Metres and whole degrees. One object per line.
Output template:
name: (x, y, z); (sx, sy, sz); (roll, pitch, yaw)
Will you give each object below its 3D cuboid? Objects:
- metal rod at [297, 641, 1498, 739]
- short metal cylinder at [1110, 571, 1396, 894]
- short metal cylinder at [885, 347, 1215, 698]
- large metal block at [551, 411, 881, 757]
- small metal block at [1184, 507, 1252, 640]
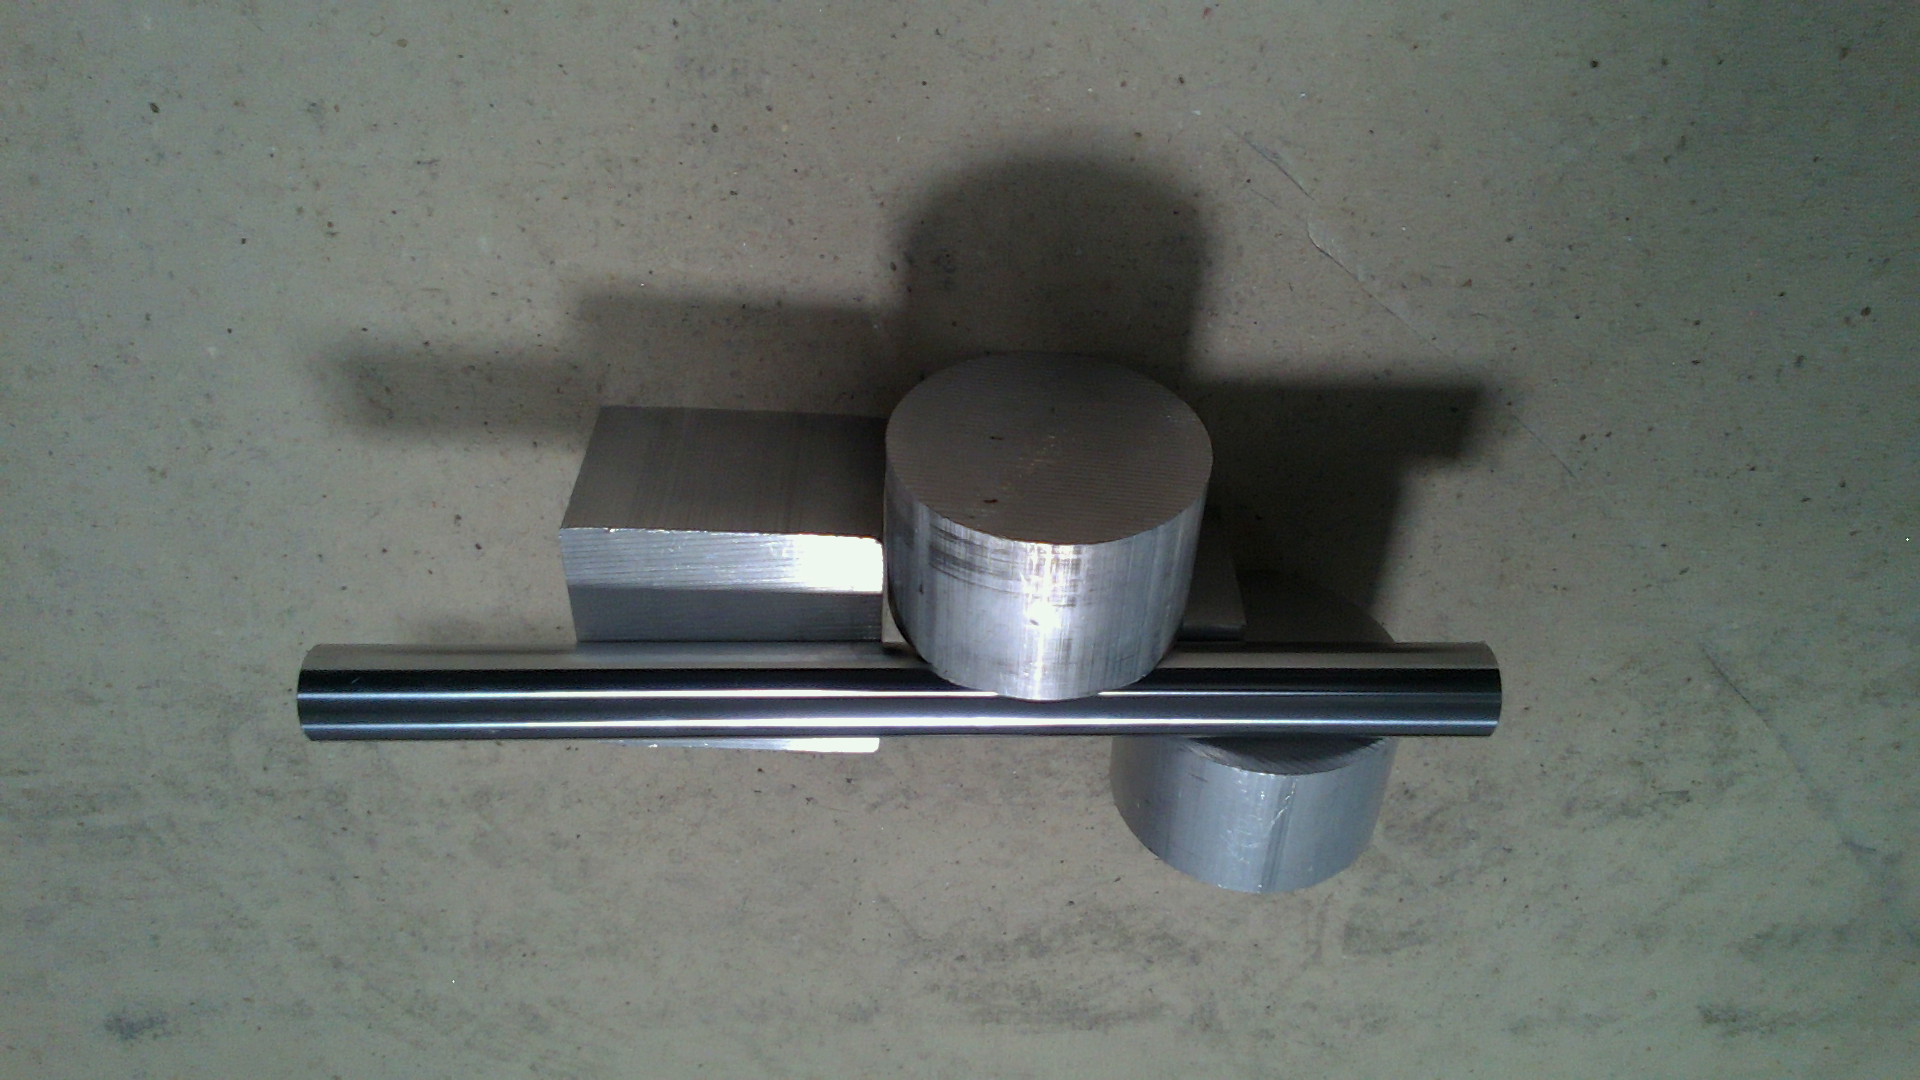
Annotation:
metal rod: (-0.014, 0.039, 0.356); (0.300, 0.025, 0.025); (0, 130, -2)
short metal cylinder: (0.085, 0.054, 0.400); (0.080, 0.080, 0.050); (0, 130, 0)
short metal cylinder: (0.021, -0.006, 0.351); (0.080, 0.080, 0.050); (2, 130, -1)
large metal block: (-0.062, 0.013, 0.381); (0.080, 0.050, 0.080); (2, 130, -2)
small metal block: (0.051, 0.016, 0.386); (0.050, 0.050, 0.025); (1, 130, -1)
